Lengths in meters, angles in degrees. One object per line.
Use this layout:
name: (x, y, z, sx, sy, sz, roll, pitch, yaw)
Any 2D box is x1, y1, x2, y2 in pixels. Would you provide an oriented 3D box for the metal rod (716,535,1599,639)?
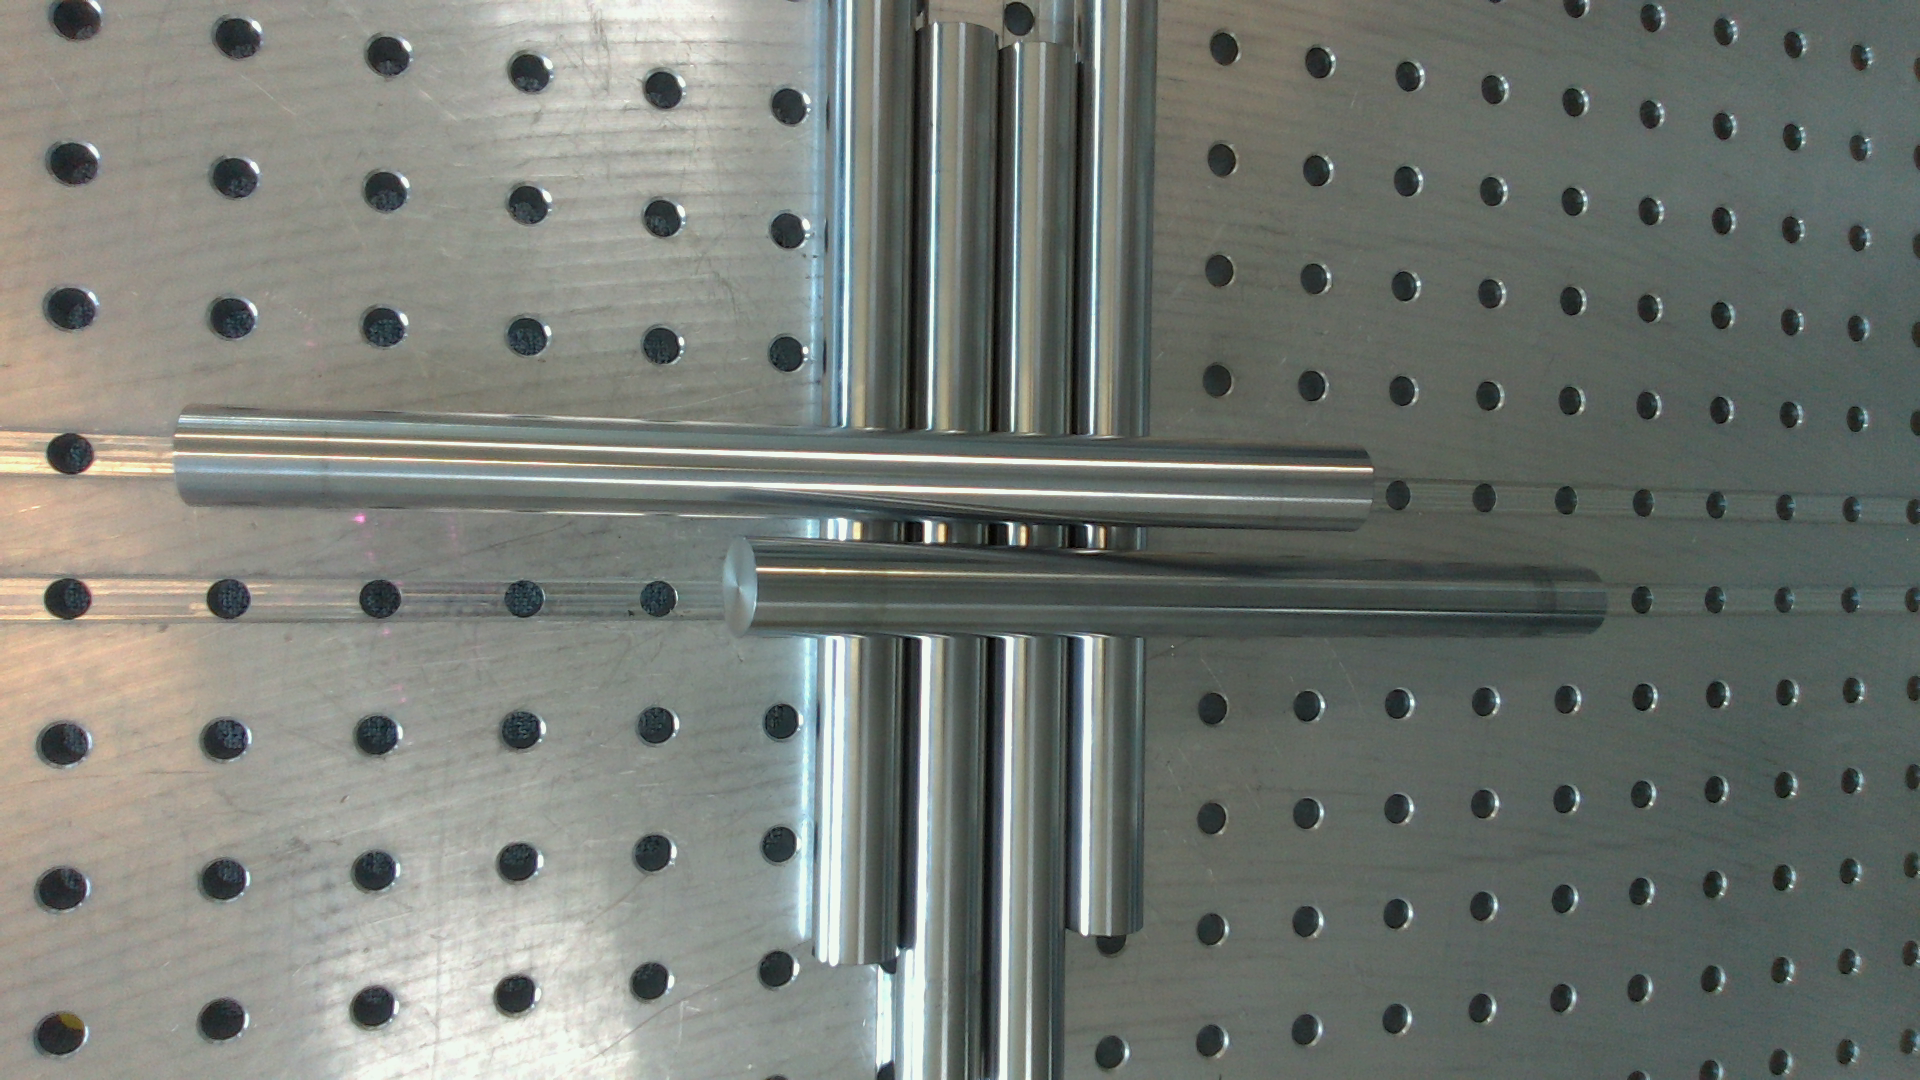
metal rod: (0.077, 0.016, 0.402, 0.301, 0.025, 0.025, 2, 89, -29)

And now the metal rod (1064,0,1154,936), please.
metal rod: (0.044, -0.036, 0.411, 0.025, 0.025, 0.300, 1, 90, -20)

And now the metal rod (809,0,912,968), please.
metal rod: (-0.028, -0.034, 0.385, 0.025, 0.025, 0.300, 1, 90, -20)

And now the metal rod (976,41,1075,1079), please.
metal rod: (0.019, 0.008, 0.404, 0.025, 0.025, 0.300, 1, 90, -20)

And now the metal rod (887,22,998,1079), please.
metal rod: (-0.005, 0.006, 0.393, 0.025, 0.025, 0.300, 1, 90, -20)

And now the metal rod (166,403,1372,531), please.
metal rod: (-0.038, -0.018, 0.357, 0.300, 0.025, 0.025, 1, 90, -11)
